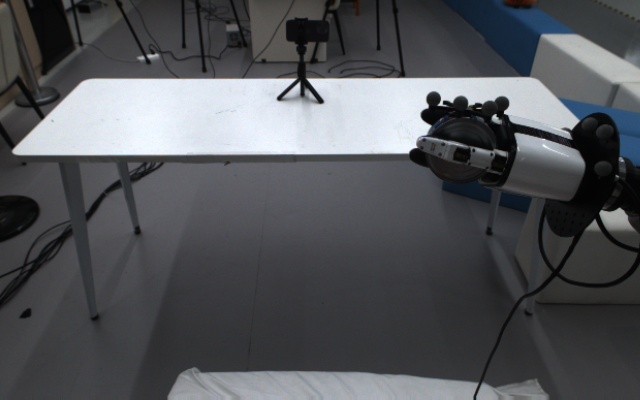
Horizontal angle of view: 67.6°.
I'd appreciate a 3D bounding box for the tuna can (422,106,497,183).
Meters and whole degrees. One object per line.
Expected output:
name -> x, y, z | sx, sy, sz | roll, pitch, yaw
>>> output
tuna can -> 0.177, -0.067, 0.608 | 0.085, 0.085, 0.034 | 7, 23, 7
